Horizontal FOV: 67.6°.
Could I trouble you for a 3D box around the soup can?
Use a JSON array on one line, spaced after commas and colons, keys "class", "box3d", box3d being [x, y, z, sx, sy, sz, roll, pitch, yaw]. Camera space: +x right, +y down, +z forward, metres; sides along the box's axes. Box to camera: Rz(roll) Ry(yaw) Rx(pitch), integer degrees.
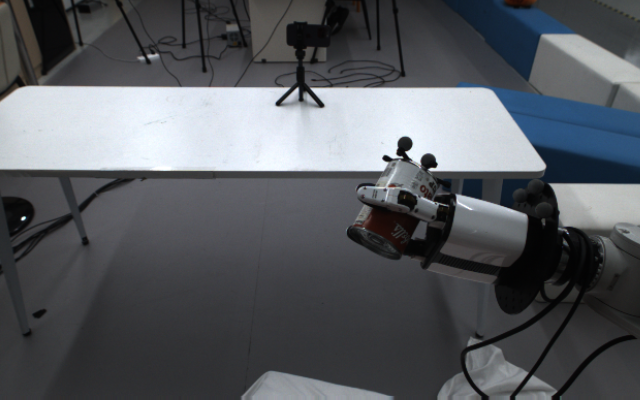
[{"class": "soup can", "box3d": [0.090, 0.010, 0.570, 0.067, 0.067, 0.101, 22, 71, 27]}]
